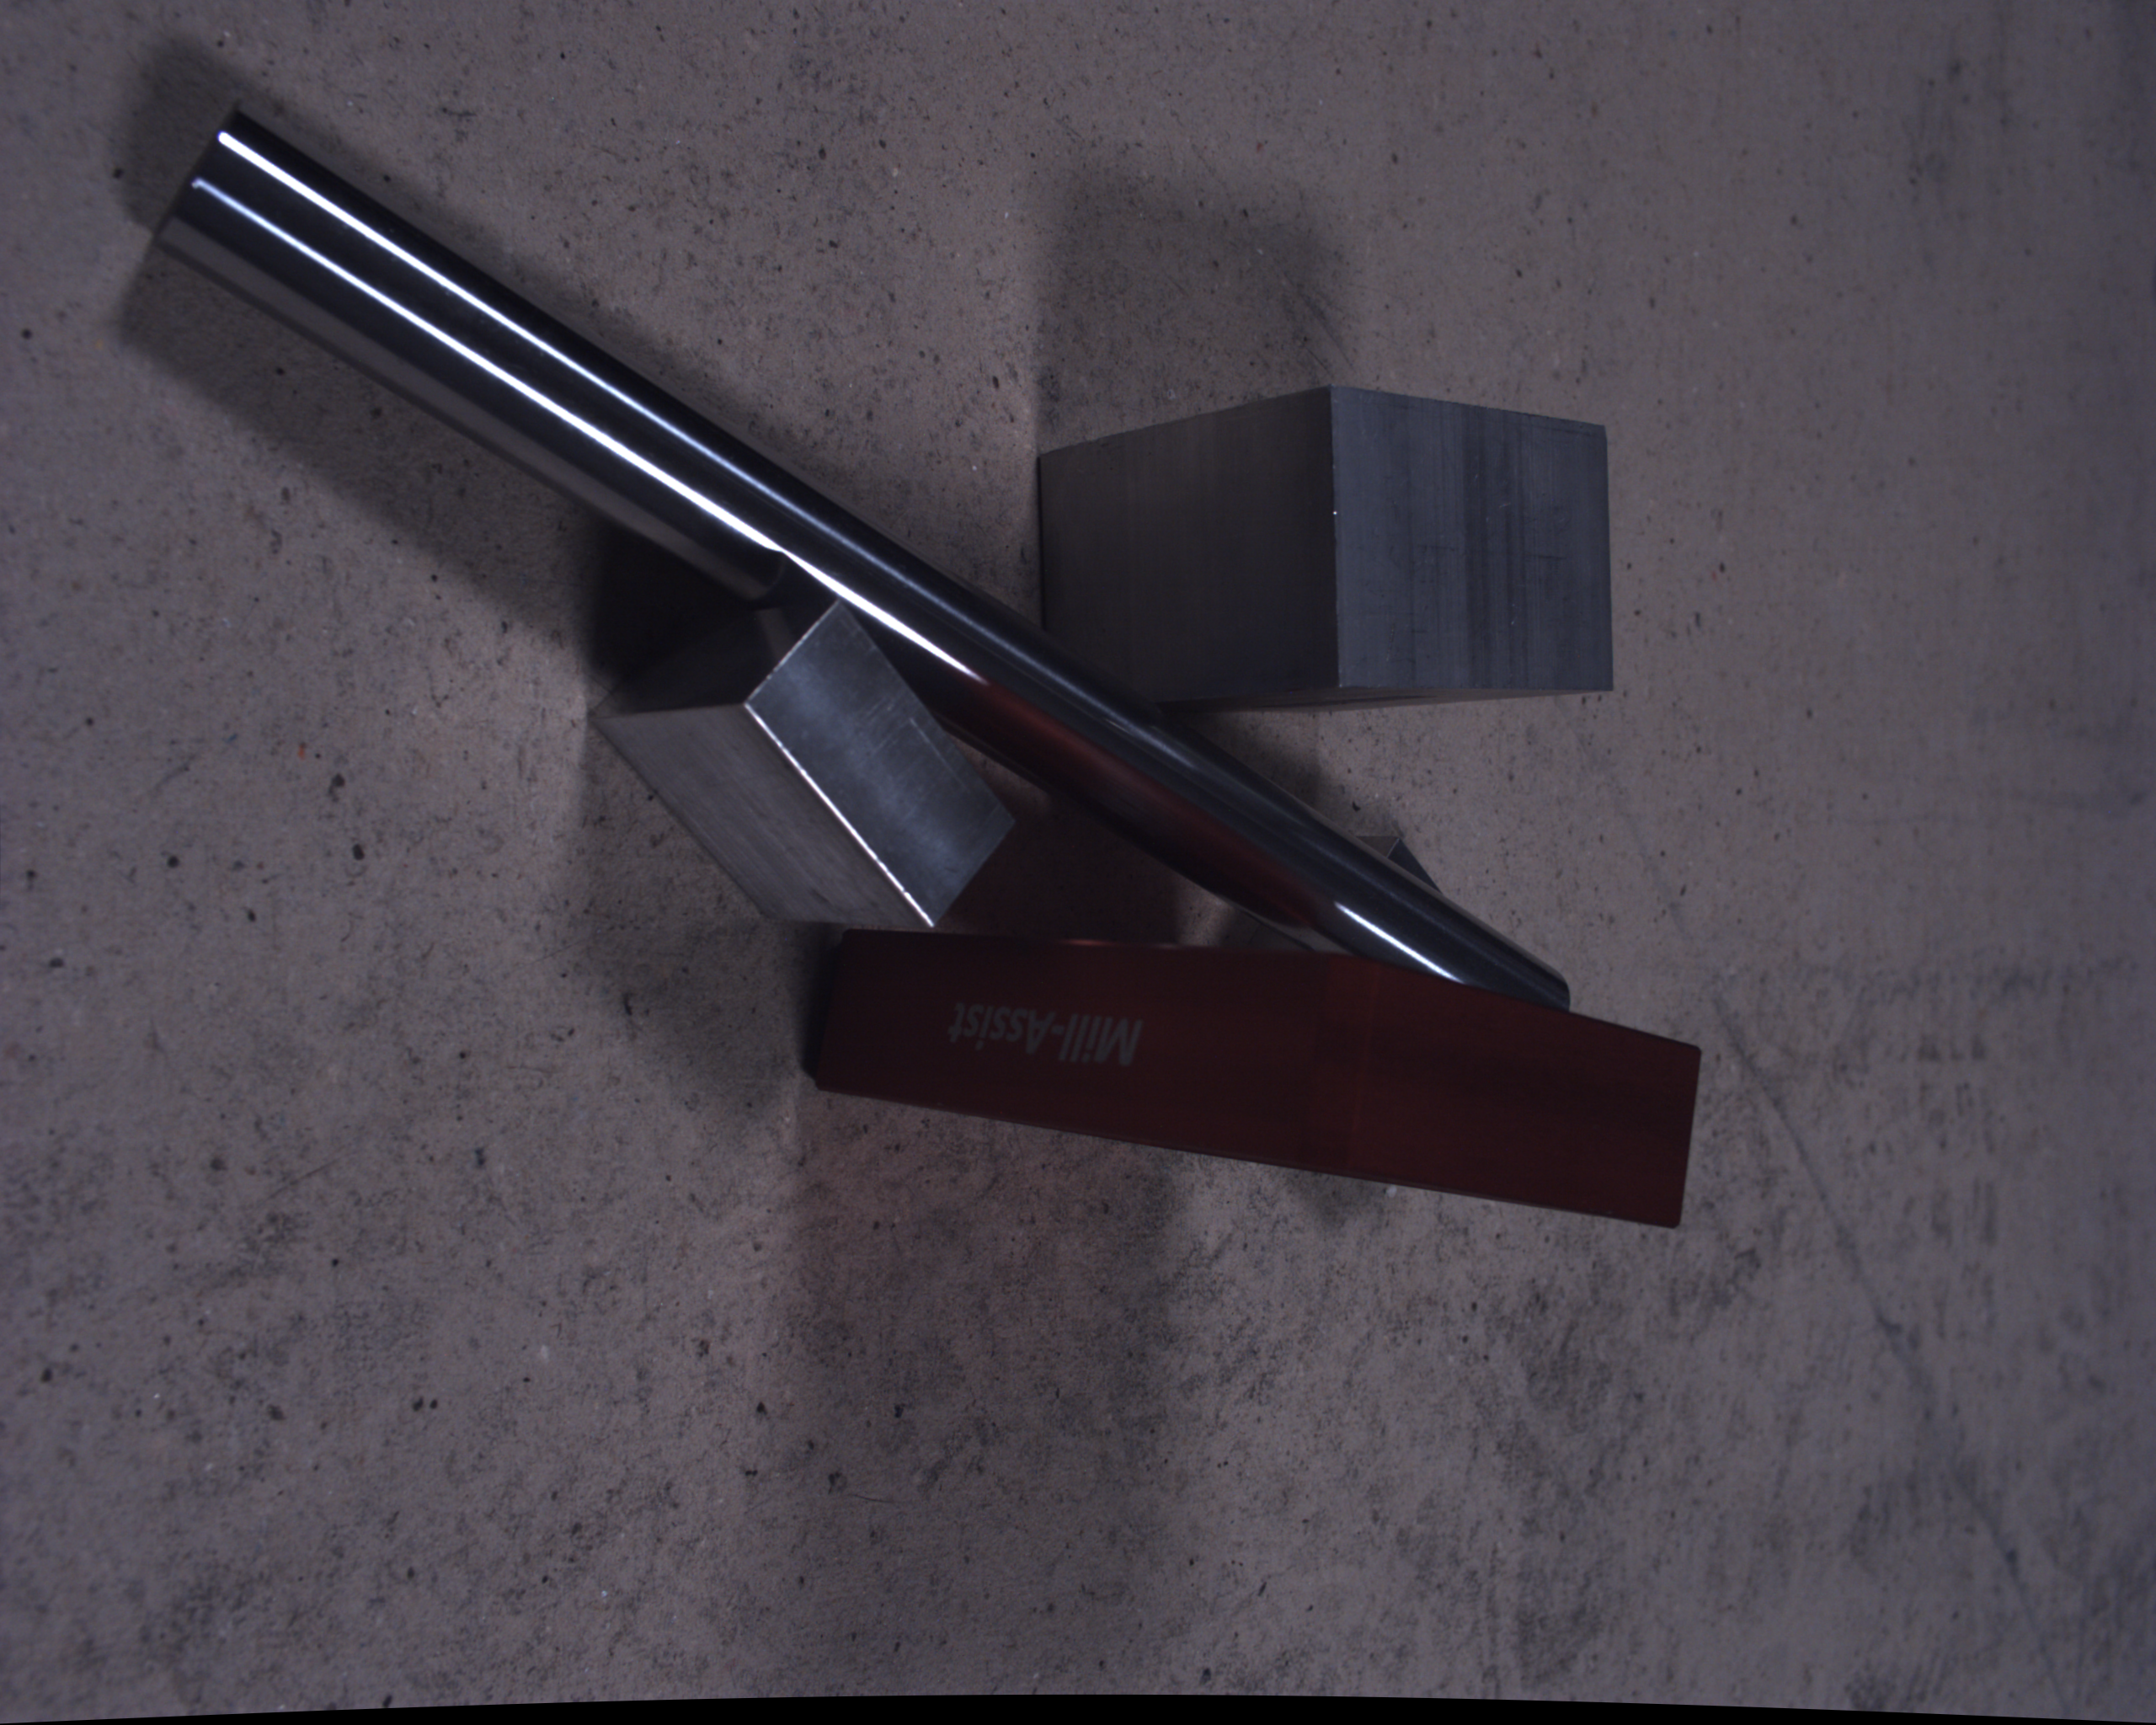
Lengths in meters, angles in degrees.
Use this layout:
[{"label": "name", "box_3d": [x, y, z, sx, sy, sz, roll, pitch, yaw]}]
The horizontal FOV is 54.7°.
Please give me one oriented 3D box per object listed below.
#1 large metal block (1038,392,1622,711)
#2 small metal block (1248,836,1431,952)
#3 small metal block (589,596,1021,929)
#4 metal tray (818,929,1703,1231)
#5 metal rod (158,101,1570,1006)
[{"label": "large metal block", "box_3d": [0.049, -0.057, 0.412, 0.081, 0.080, 0.050, -3, 92, -40]}, {"label": "small metal block", "box_3d": [0.063, 0.029, 0.462, 0.050, 0.025, 0.050, 49, 61, -29]}, {"label": "small metal block", "box_3d": [-0.046, -0.016, 0.352, 0.050, 0.050, 0.025, 52, 59, -28]}, {"label": "metal tray", "box_3d": [0.028, 0.036, 0.363, 0.091, 0.130, 0.030, 16, 80, -39]}, {"label": "metal rod", "box_3d": [-0.015, -0.033, 0.378, 0.301, 0.025, 0.025, 31, 71, -31]}]
